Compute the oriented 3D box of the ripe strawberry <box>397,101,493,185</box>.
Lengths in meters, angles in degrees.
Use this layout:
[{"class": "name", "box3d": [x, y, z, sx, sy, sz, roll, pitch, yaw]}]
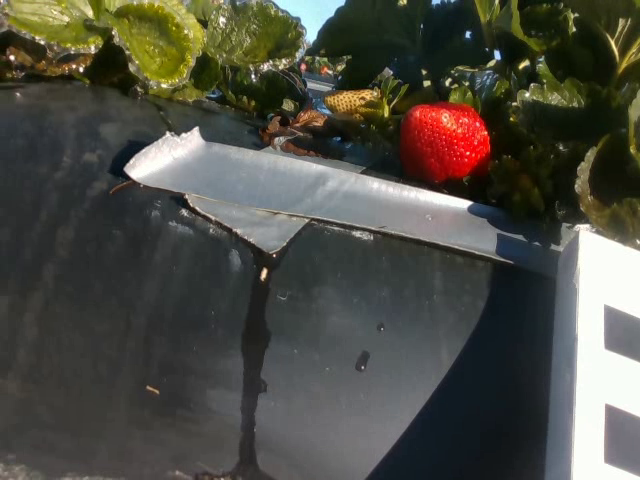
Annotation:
[{"class": "ripe strawberry", "box3d": [0.068, -0.056, 0.341, 0.057, 0.062, 0.065, -45, -22, 10]}]
